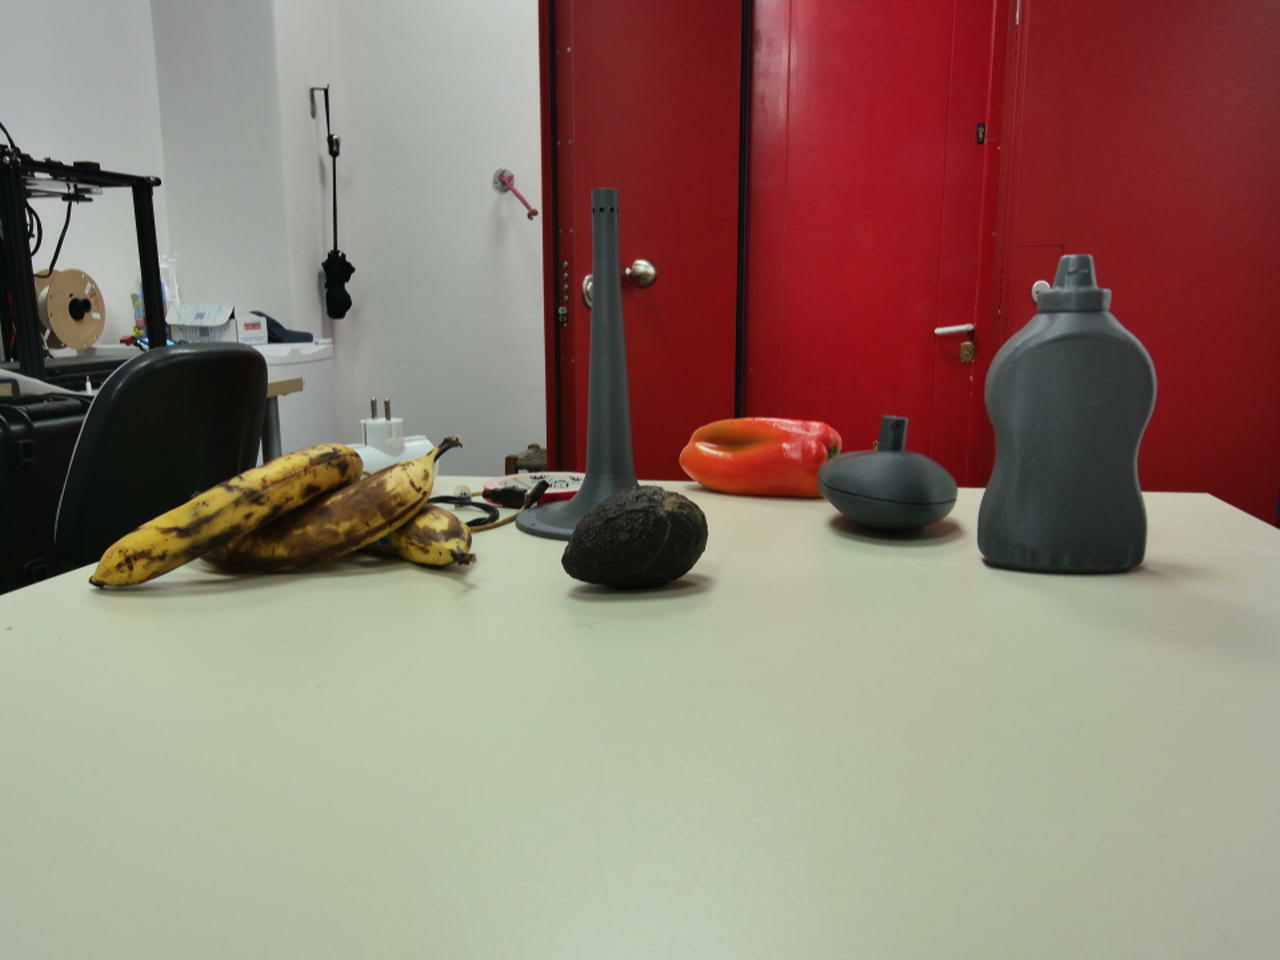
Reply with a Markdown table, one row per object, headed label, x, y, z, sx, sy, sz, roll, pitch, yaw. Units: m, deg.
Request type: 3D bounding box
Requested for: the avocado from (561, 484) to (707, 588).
| label | x | y | z | sx | sy | sz | roll | pitch | yaw |
| --- | --- | --- | --- | --- | --- | --- | --- | --- | --- |
| avocado | -0.004 | 0.034 | 0.614 | 0.092 | 0.062 | 0.062 | -2 | 8 | -12 |
